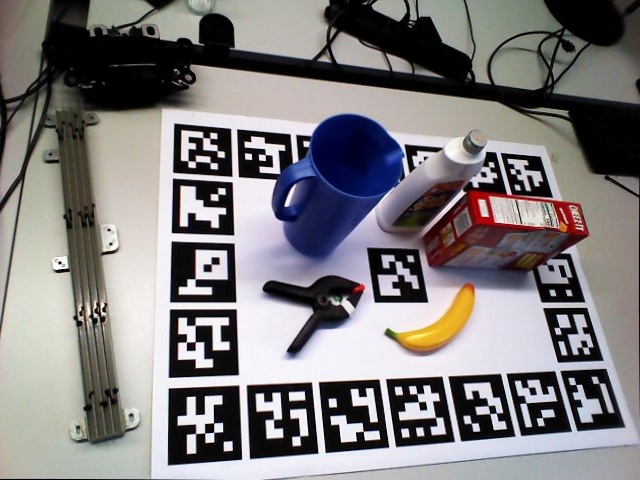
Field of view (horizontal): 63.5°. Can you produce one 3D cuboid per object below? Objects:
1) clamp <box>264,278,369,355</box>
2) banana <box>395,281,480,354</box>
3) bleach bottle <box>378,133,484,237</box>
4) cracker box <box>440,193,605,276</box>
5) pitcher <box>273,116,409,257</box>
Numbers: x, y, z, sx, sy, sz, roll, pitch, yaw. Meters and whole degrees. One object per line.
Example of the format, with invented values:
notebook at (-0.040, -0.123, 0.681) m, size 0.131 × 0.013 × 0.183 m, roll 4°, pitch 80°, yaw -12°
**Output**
clamp at (0.005, 0.106, 0.828) m, size 0.164 × 0.037 × 0.121 m, roll -14°, pitch 67°, yaw -24°
banana at (0.218, 0.137, 0.882) m, size 0.196 × 0.039 × 0.074 m, roll -33°, pitch 76°, yaw -27°
bleach bottle at (0.186, -0.090, 0.856) m, size 0.102 × 0.252 × 0.067 m, roll 2°, pitch 63°, yaw -15°
cracker box at (0.335, -0.006, 0.889) m, size 0.213 × 0.165 × 0.071 m, roll 3°, pitch 61°, yaw -13°
pitcher at (0.014, -0.068, 0.773) m, size 0.188 × 0.244 × 0.133 m, roll -16°, pitch 69°, yaw -25°
